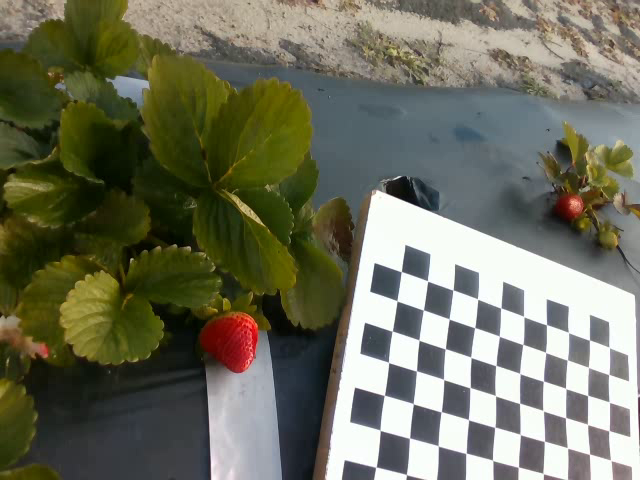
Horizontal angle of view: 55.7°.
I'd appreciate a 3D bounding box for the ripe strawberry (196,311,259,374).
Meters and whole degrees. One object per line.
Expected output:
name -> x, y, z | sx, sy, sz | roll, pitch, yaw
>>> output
ripe strawberry -> -0.052, 0.066, 0.378 | 0.050, 0.055, 0.035 | 17, -42, -26
